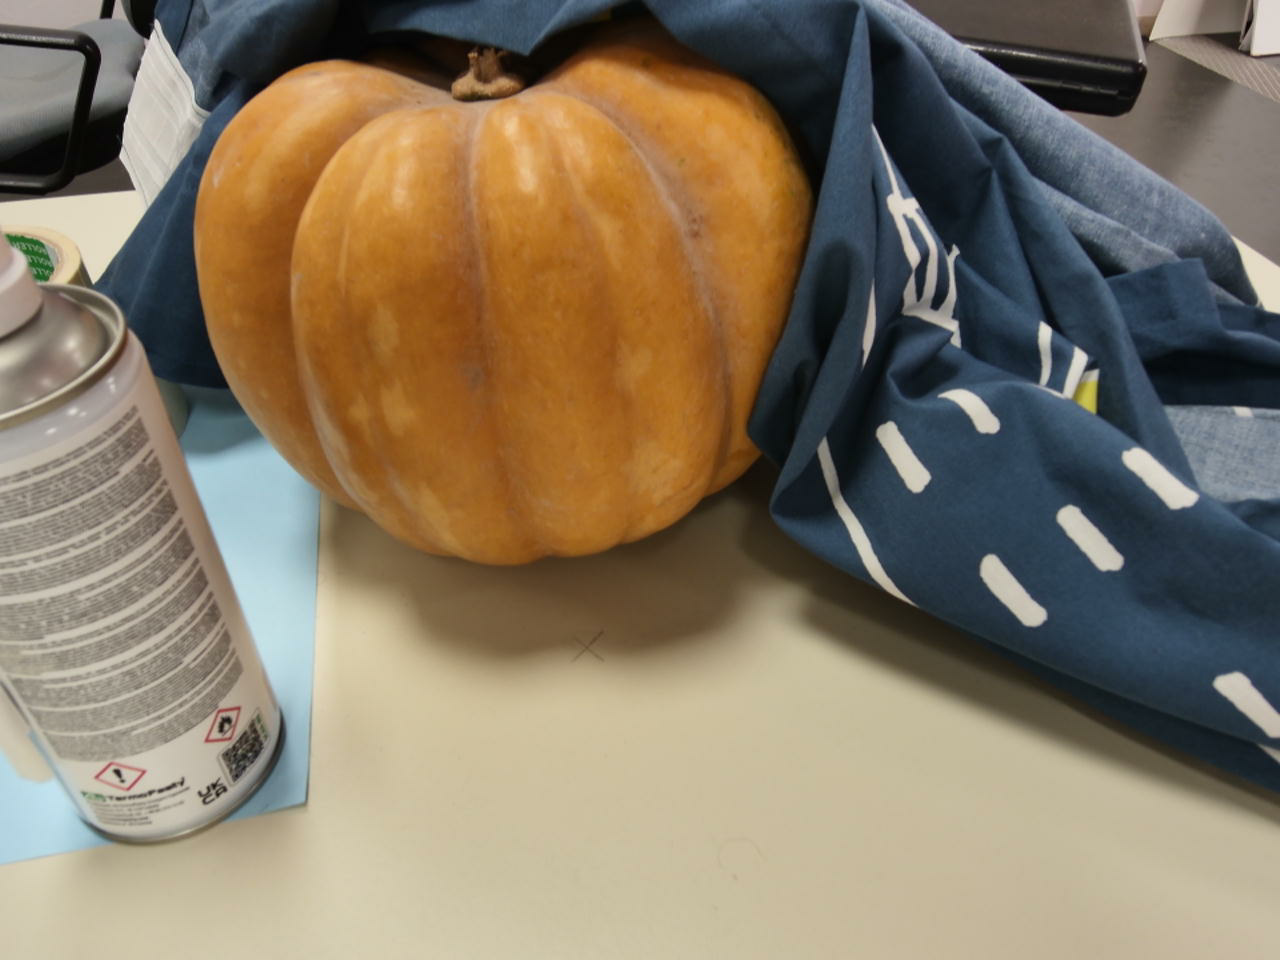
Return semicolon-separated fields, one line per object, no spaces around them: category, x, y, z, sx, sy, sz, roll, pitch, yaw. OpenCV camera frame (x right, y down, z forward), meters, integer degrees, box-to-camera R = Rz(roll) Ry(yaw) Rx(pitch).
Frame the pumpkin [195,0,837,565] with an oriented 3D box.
pumpkin;-0.039;-0.076;0.377;0.230;0.194;0.230;0;39;0
